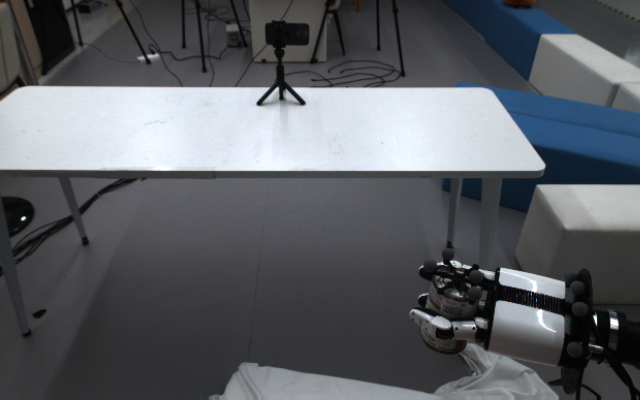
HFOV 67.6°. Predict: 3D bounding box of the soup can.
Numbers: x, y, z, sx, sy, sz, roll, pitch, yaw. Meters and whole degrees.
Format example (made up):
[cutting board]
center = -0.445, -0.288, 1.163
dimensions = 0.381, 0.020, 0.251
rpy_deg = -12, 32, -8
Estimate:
[soup can]
center = 0.181, 0.152, 0.668
dimensions = 0.067, 0.101, 0.067
rpy_deg = 3, 30, -2
